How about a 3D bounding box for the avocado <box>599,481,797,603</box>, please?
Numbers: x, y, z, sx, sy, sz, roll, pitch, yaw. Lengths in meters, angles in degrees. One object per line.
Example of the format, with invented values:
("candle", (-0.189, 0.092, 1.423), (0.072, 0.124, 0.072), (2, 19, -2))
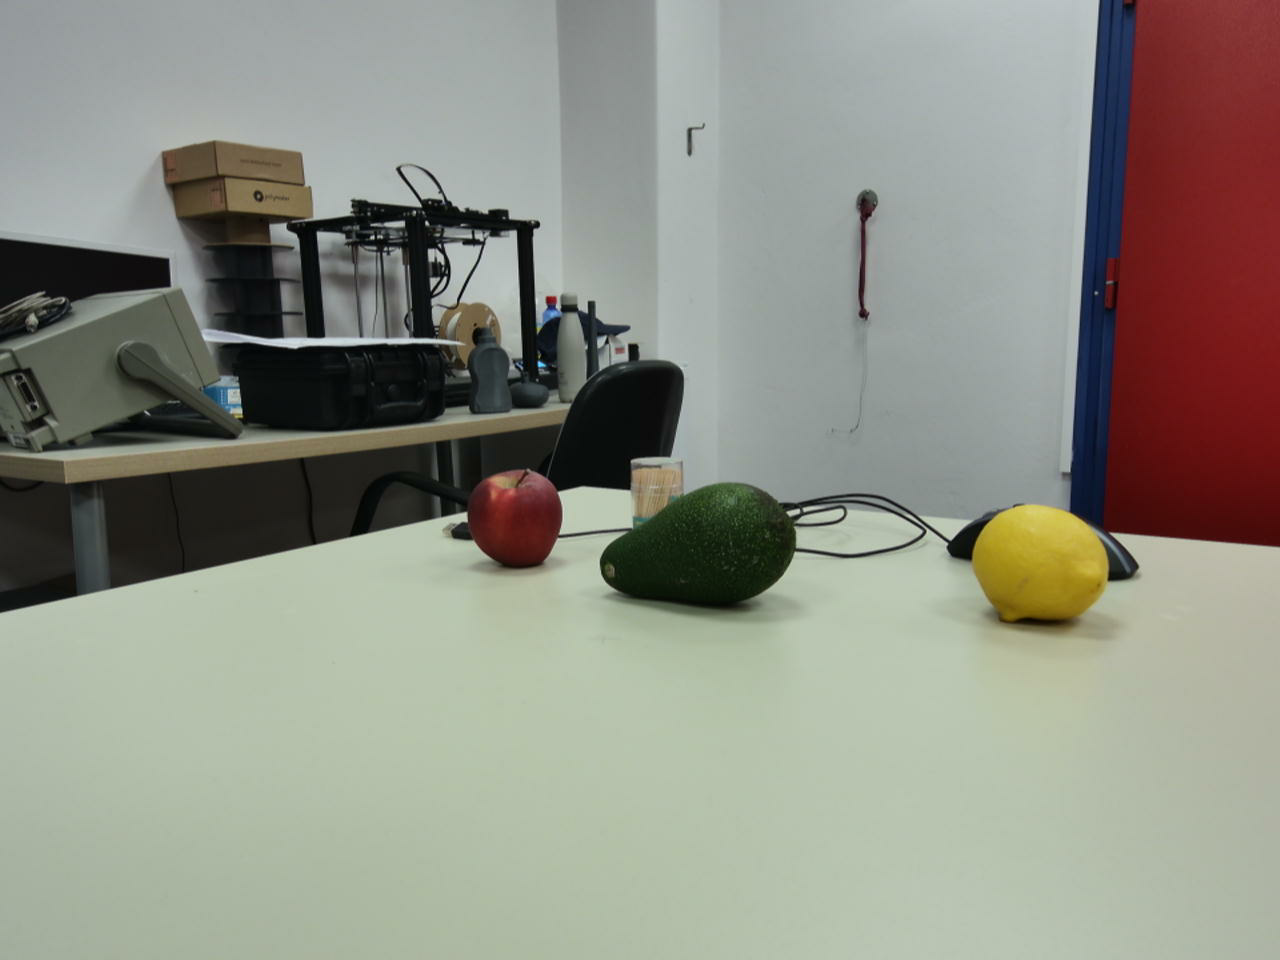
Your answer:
("avocado", (0.040, 0.037, 0.623), (0.123, 0.076, 0.074), (5, 8, 41))
